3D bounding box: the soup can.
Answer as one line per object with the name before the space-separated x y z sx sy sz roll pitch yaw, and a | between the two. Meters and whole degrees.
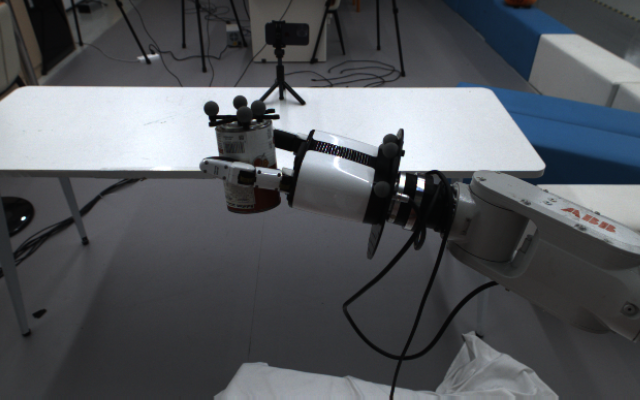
soup can | -0.083 -0.042 0.575 0.067 0.101 0.067 -4 21 2
